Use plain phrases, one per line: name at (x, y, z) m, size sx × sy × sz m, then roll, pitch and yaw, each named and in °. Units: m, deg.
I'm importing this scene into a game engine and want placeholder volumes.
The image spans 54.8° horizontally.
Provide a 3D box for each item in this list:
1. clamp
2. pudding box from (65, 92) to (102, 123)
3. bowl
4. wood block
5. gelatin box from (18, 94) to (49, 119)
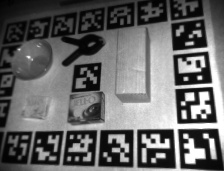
clamp at (-0.124, -0.138, 0.763) m, size 0.164 × 0.037 × 0.121 m, roll -13°, pitch 68°, yaw 10°
pudding box at (-0.087, 0.070, 0.672) m, size 0.113 × 0.039 × 0.090 m, roll -5°, pitch 74°, yaw 17°
bowl at (-0.283, -0.092, 0.782) m, size 0.160 × 0.056 × 0.161 m, roll -4°, pitch 73°, yaw 14°
wood block at (0.061, -0.058, 0.643) m, size 0.089 × 0.092 × 0.206 m, roll 0°, pitch 72°, yaw 16°
gelatin box at (-0.265, 0.070, 0.726) m, size 0.088 × 0.030 × 0.073 m, roll 5°, pitch 75°, yaw 18°
